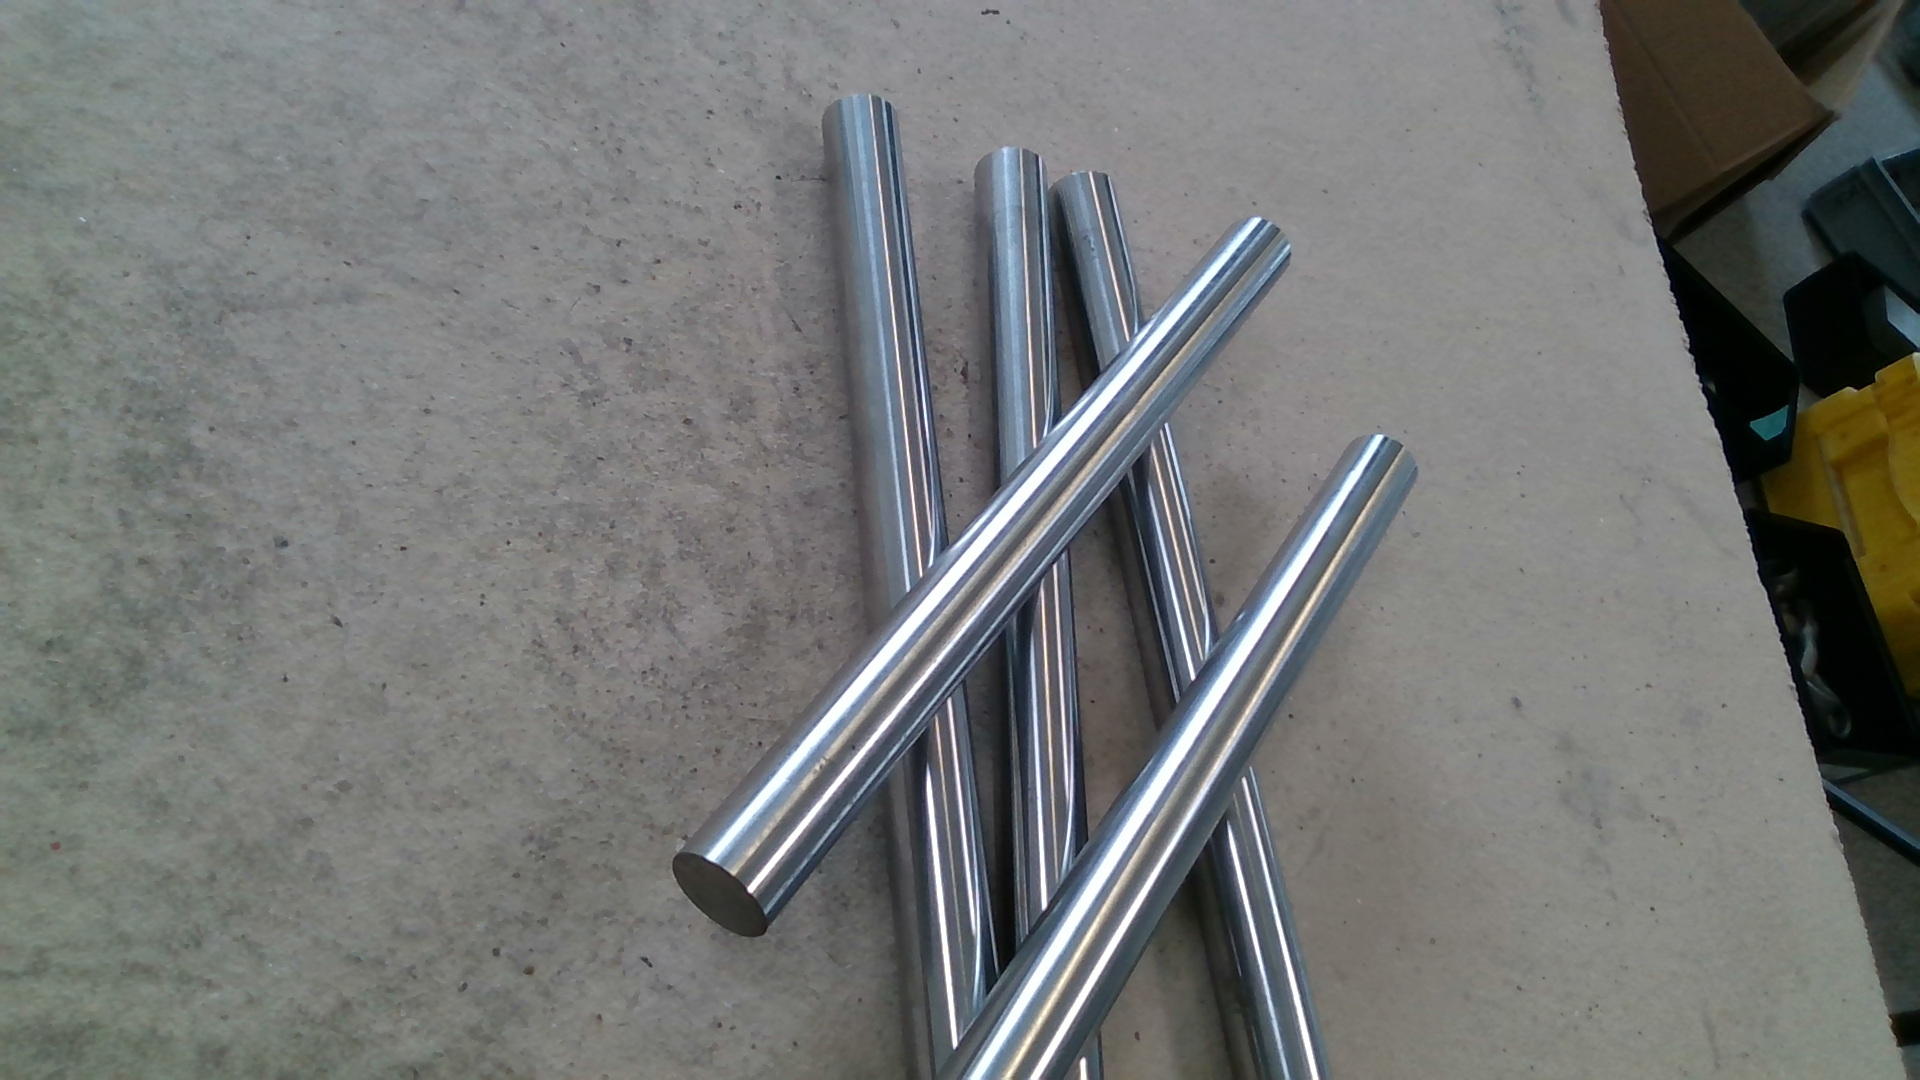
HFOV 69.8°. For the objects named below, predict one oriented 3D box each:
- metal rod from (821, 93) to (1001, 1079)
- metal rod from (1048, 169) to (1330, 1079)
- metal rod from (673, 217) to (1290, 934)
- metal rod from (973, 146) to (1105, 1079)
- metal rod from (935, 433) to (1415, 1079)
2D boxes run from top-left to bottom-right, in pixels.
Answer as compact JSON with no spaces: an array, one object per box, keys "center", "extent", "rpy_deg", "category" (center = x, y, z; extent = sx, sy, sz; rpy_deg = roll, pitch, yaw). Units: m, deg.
[{"center":[-0.016,-0.001,0.384],"extent":[0.025,0.025,0.299],"rpy_deg":[7,62,-29],"category":"metal rod"},{"center":[0.064,0.013,0.426],"extent":[0.025,0.025,0.299],"rpy_deg":[5,63,-30],"category":"metal rod"},{"center":[0.026,-0.013,0.384],"extent":[0.025,0.025,0.299],"rpy_deg":[44,51,-4],"category":"metal rod"},{"center":[0.020,0.006,0.402],"extent":[0.025,0.025,0.299],"rpy_deg":[13,59,-26],"category":"metal rod"},{"center":[0.062,0.061,0.366],"extent":[0.025,0.025,0.299],"rpy_deg":[45,51,-3],"category":"metal rod"}]
